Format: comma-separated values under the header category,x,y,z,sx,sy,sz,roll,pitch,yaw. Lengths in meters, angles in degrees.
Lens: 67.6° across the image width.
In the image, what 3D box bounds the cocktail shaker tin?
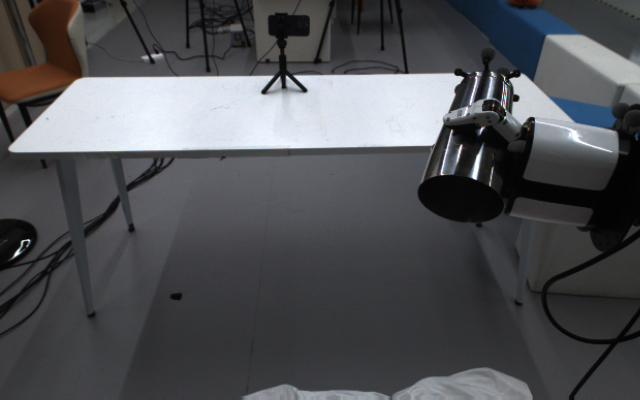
category,x,y,z,sx,sy,sz,roll,pitch,yaw
cocktail shaker tin,0.179,-0.069,0.564,0.093,0.093,0.170,14,61,17
